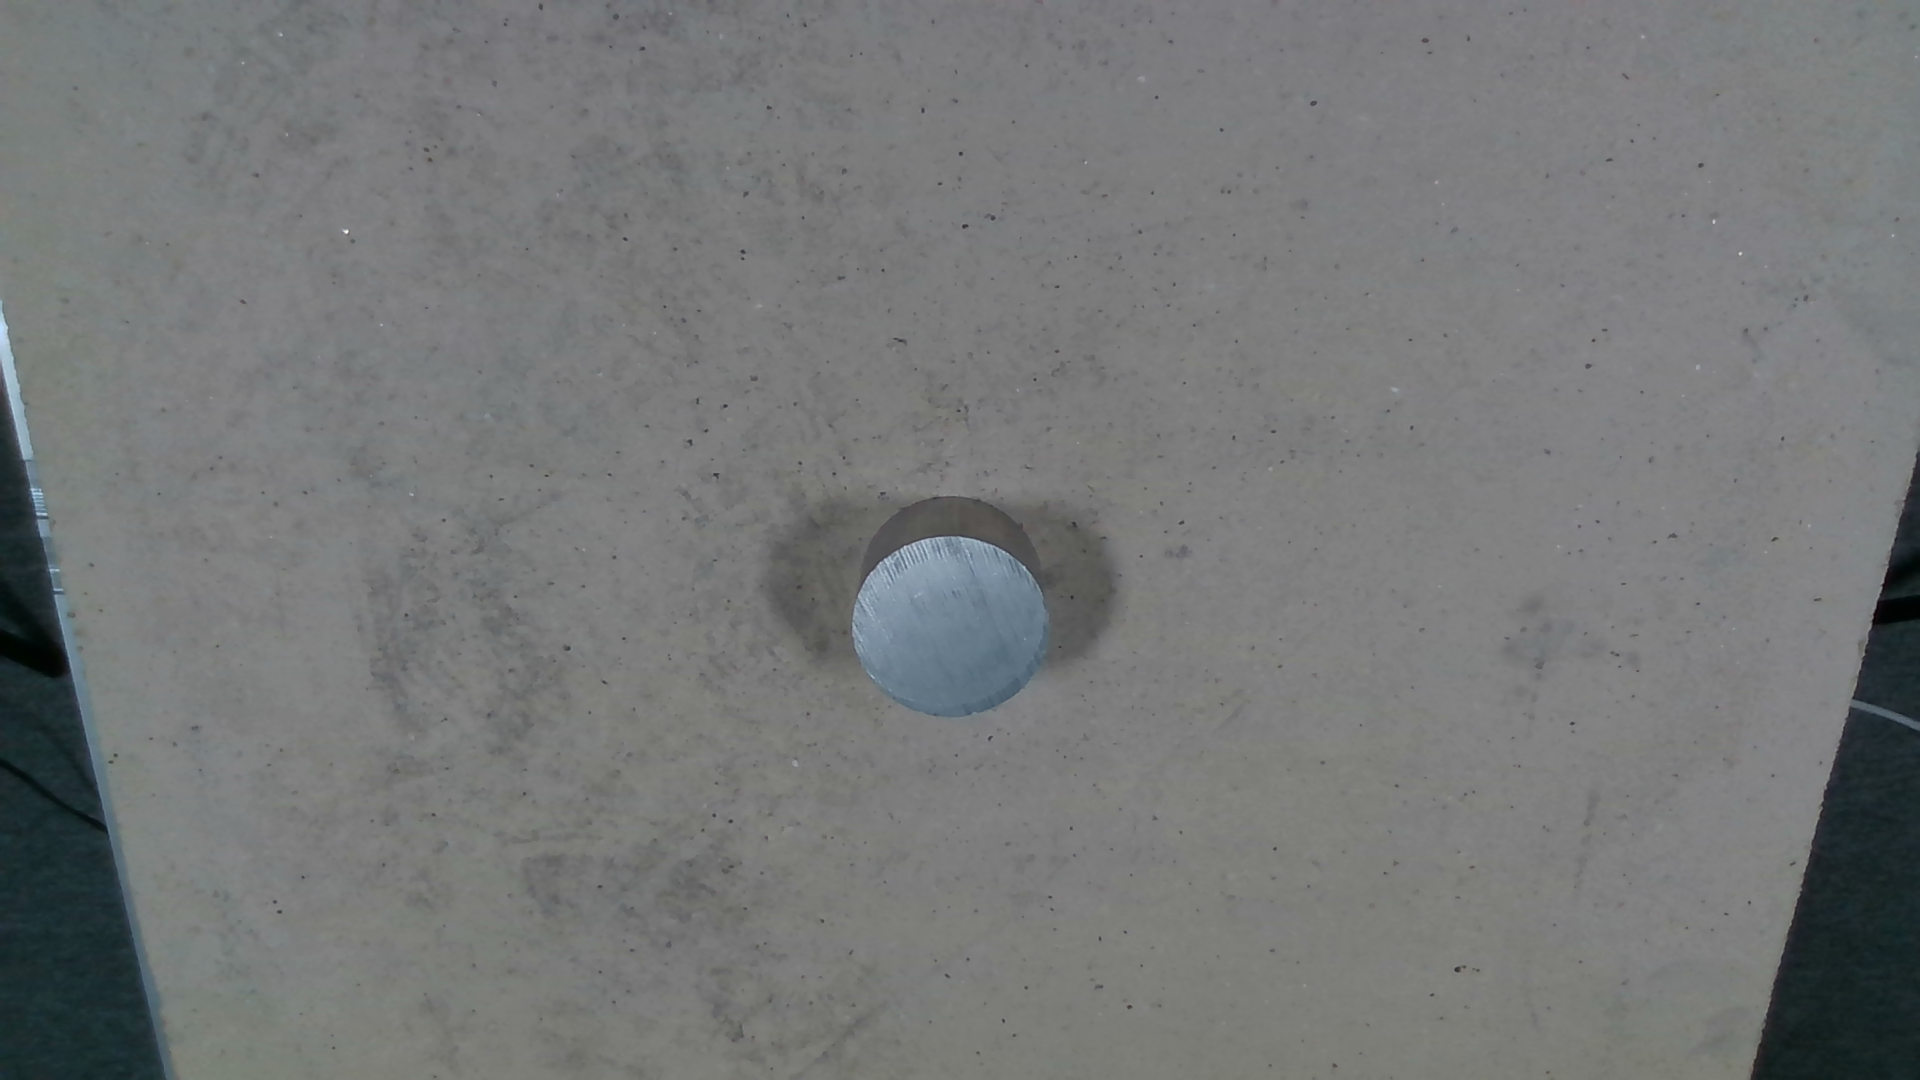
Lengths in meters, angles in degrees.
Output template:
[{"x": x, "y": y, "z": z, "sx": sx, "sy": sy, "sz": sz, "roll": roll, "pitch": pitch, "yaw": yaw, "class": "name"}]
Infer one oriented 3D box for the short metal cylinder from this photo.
[{"x": -0.004, "y": 0.027, "z": 0.582, "sx": 0.080, "sy": 0.050, "sz": 0.080, "roll": 0, "pitch": 110, "yaw": 0, "class": "short metal cylinder"}]
